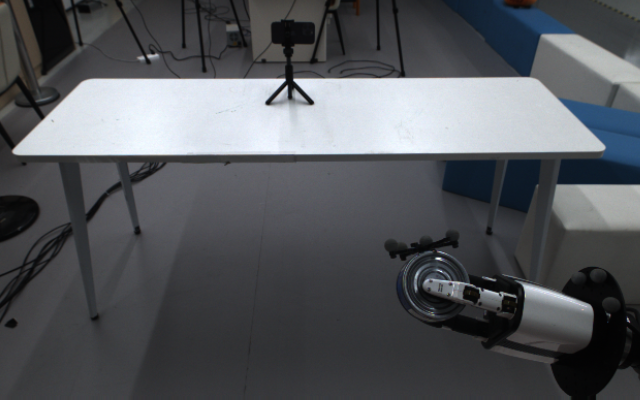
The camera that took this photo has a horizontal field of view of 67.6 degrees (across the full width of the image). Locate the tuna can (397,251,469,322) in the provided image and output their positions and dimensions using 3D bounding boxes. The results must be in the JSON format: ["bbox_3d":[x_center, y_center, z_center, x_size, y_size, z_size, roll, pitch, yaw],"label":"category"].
[{"bbox_3d":[0.142,0.103,0.595,0.085,0.034,0.085,0,73,-1],"label":"tuna can"}]
